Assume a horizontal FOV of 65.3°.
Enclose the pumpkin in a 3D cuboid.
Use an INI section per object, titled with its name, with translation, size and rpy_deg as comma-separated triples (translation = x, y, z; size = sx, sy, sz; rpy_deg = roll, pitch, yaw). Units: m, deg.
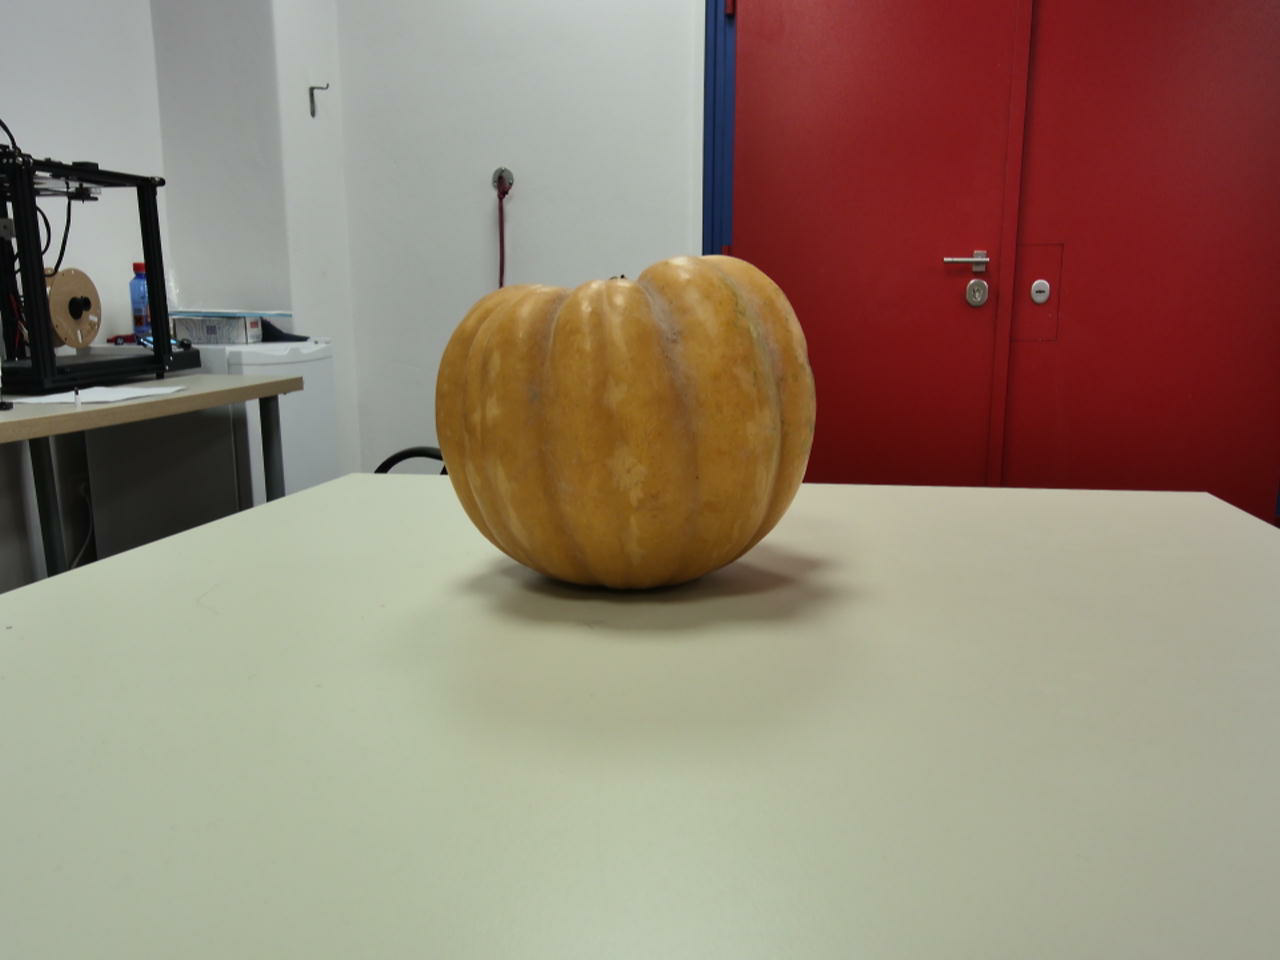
[pumpkin]
translation = -0.005, -0.035, 0.608
size = 0.230, 0.194, 0.230
rpy_deg = 0, 7, 0
